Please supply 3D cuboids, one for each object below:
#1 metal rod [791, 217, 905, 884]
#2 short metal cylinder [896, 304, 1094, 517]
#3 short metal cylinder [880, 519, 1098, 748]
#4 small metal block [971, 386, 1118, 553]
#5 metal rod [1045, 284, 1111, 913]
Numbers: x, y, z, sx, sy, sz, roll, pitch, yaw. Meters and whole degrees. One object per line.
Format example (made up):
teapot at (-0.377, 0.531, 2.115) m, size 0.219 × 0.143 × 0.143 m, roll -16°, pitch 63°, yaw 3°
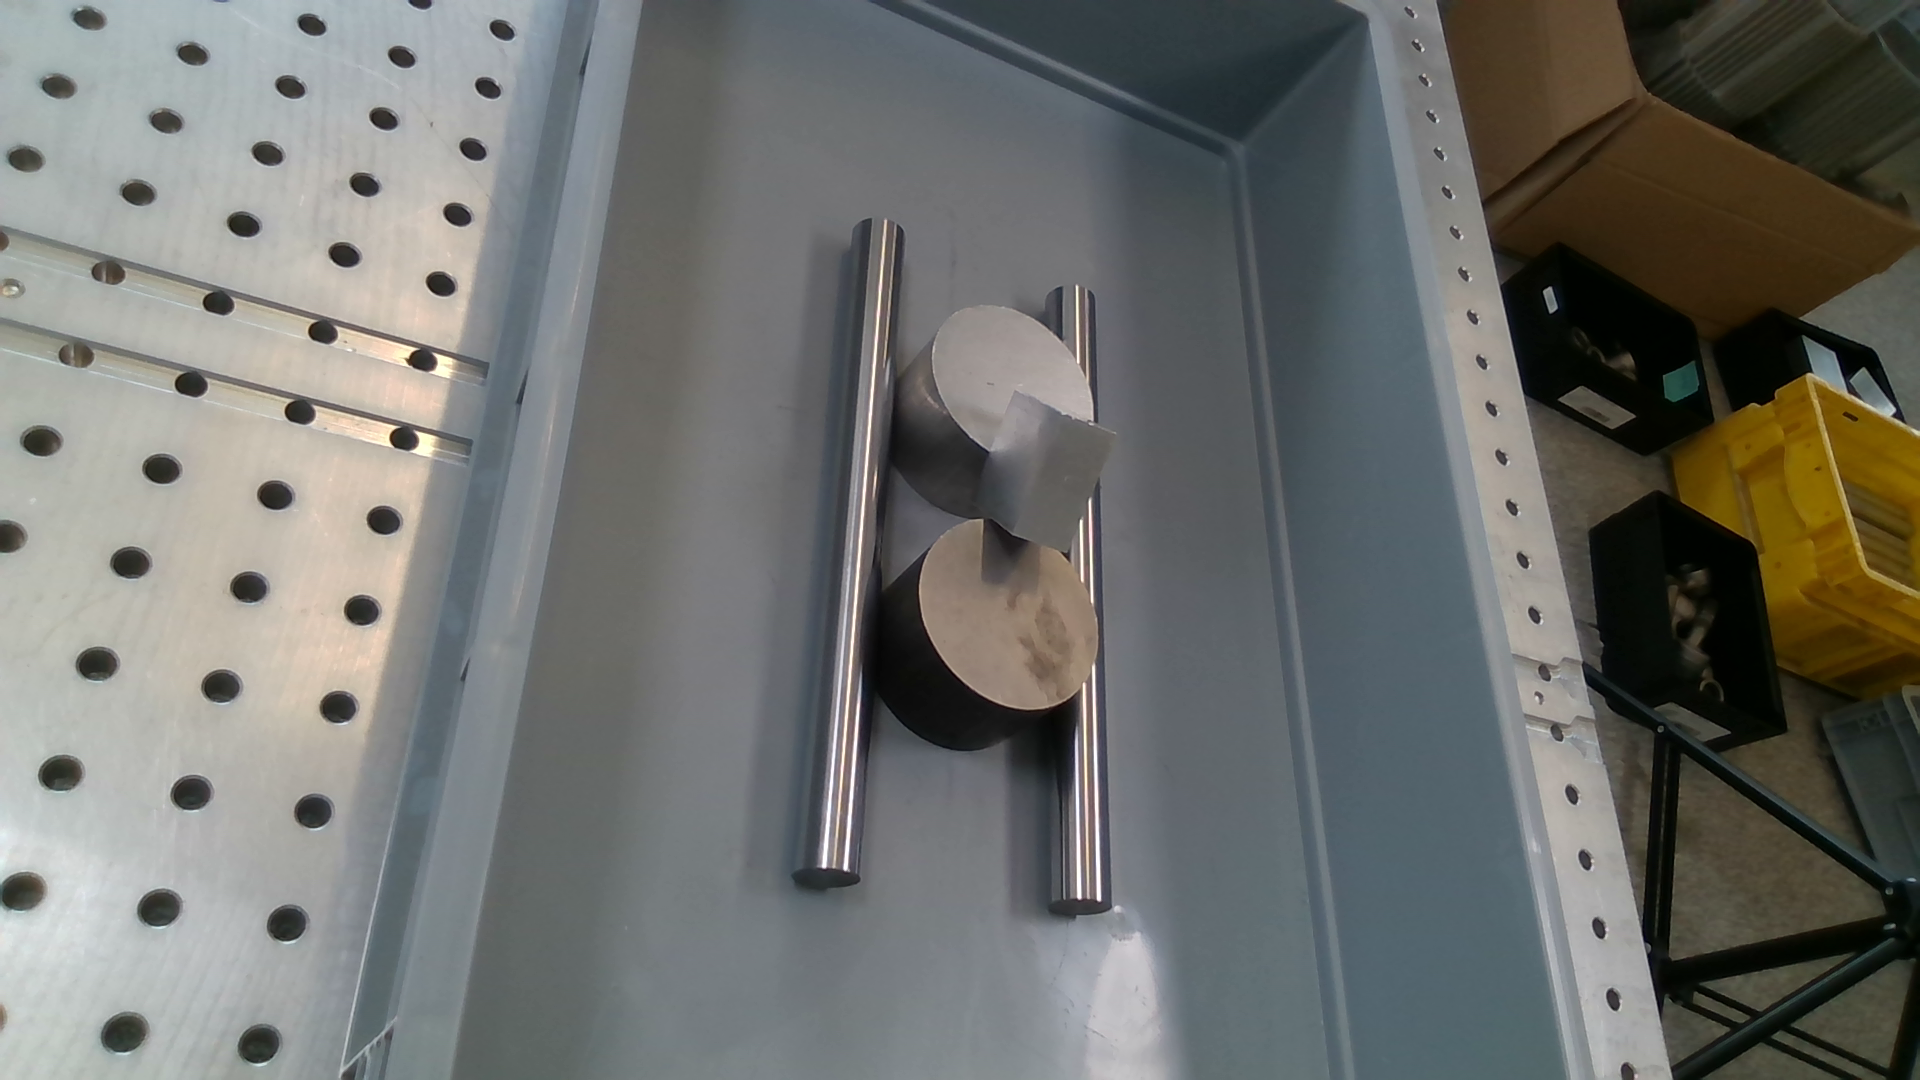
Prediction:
metal rod at (-0.043, -0.010, 0.564) m, size 0.025 × 0.025 × 0.299 m, roll 16°, pitch 58°, yaw -24°
short metal cylinder at (0.012, -0.056, 0.607) m, size 0.080 × 0.050 × 0.080 m, roll 14°, pitch 59°, yaw -25°
short metal cylinder at (0.008, 0.038, 0.554) m, size 0.080 × 0.050 × 0.080 m, roll 14°, pitch 59°, yaw -25°
small metal block at (0.032, -0.029, 0.544) m, size 0.025 × 0.050 × 0.050 m, roll 18°, pitch 100°, yaw -24°
metal rod at (0.050, 0.012, 0.610) m, size 0.025 × 0.025 × 0.299 m, roll 16°, pitch 58°, yaw -24°
